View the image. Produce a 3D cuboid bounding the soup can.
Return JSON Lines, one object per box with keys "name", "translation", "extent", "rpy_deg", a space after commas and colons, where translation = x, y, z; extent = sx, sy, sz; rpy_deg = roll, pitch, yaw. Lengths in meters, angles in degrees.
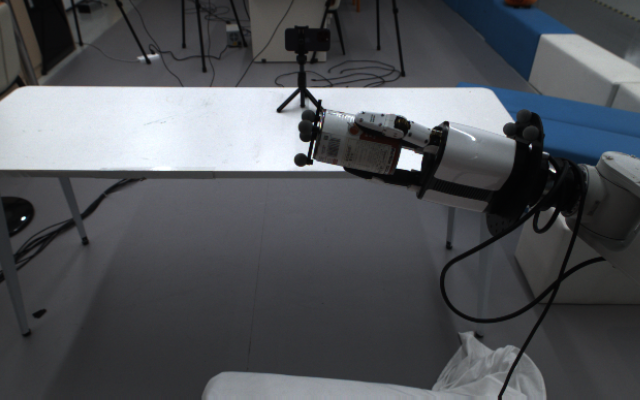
{"name": "soup can", "translation": [0.049, -0.073, 0.609], "extent": [0.101, 0.067, 0.067], "rpy_deg": [11, 35, -1]}
